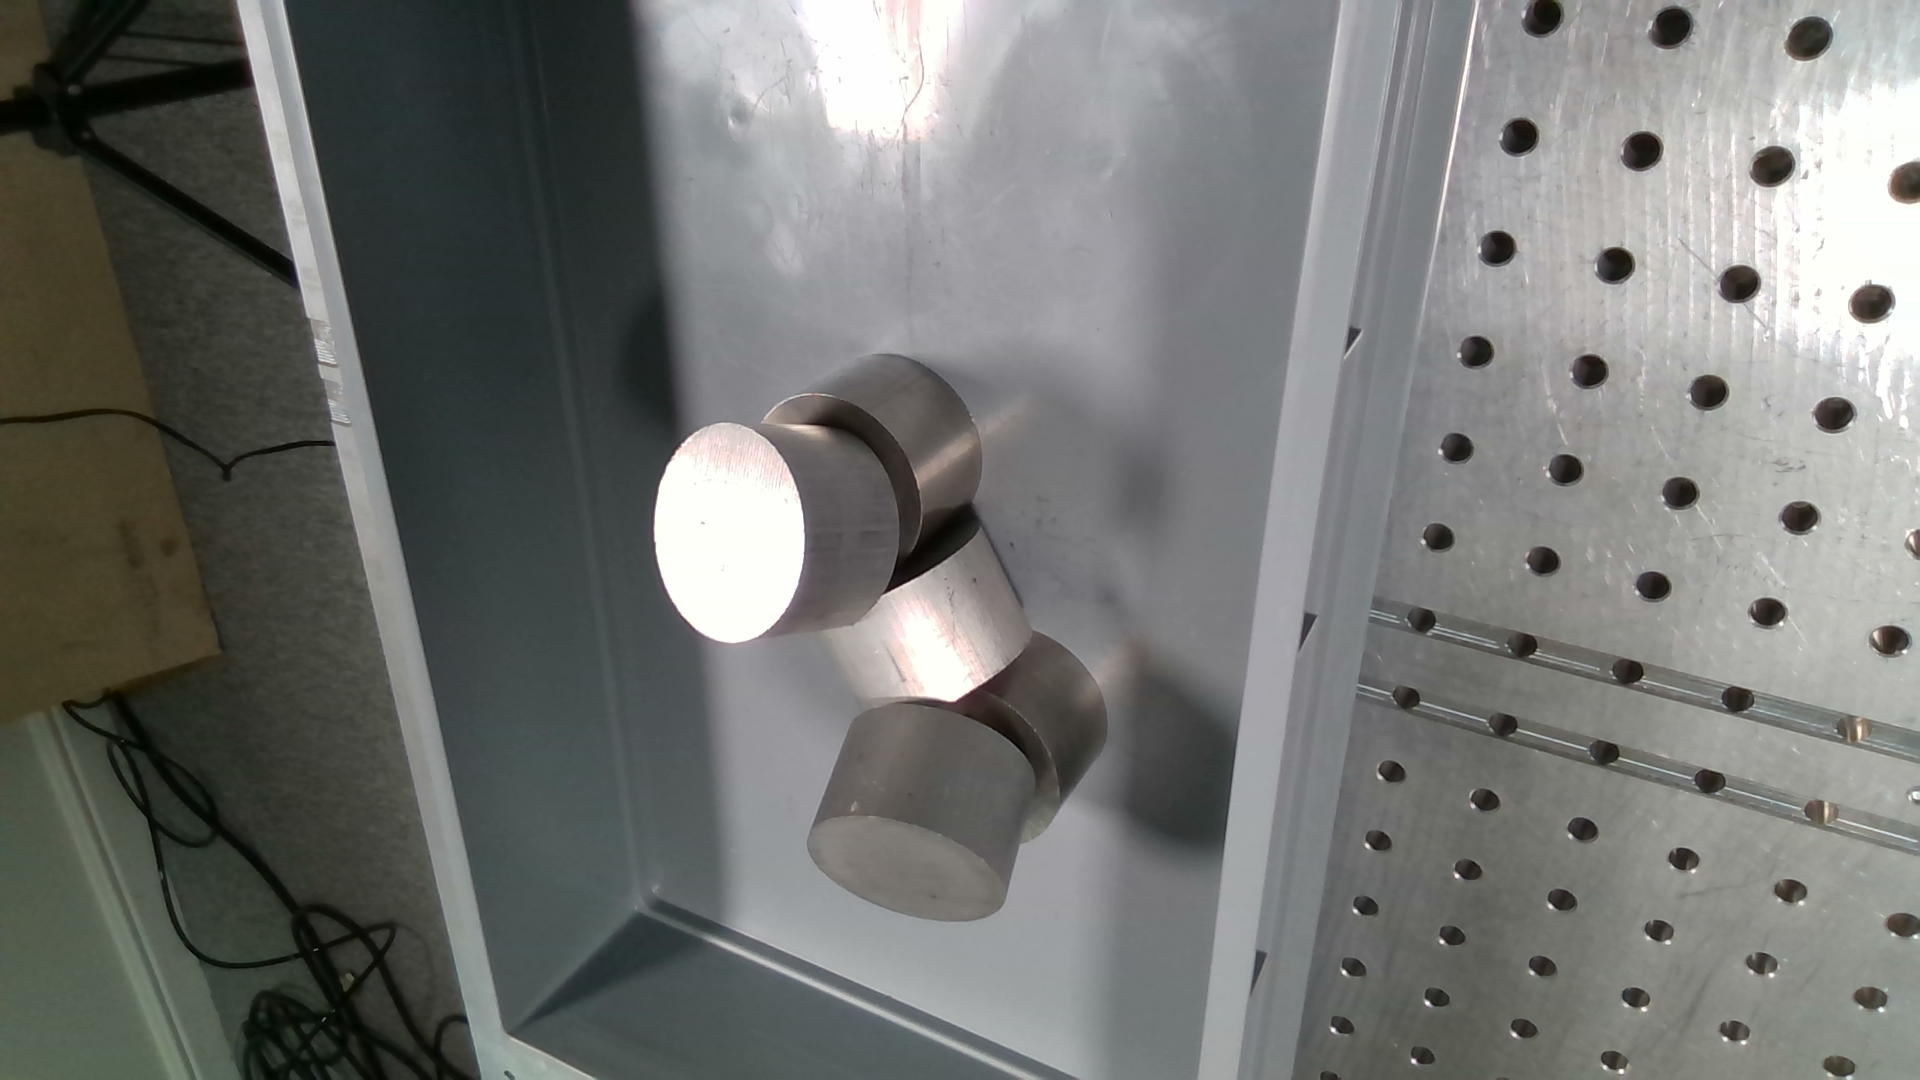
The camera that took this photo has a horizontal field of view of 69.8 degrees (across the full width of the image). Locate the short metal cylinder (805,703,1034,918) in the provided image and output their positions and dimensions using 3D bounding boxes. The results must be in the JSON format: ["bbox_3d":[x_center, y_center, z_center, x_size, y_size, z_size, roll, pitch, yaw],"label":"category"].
[{"bbox_3d":[-0.015,0.108,0.547,0.080,0.050,0.080,11,142,9],"label":"short metal cylinder"}]

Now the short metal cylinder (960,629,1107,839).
[{"bbox_3d":[0.017,0.083,0.598,0.080,0.050,0.080,14,122,25],"label":"short metal cylinder"}]

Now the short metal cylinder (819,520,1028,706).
[{"bbox_3d":[-0.017,0.033,0.571,0.080,0.080,0.050,-17,105,37],"label":"short metal cylinder"}]

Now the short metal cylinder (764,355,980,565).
[{"bbox_3d":[-0.039,-0.031,0.569,0.080,0.050,0.080,14,122,25],"label":"short metal cylinder"}]

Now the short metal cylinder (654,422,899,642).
[{"bbox_3d":[-0.070,-0.004,0.520,0.080,0.050,0.080,3,94,38],"label":"short metal cylinder"}]
